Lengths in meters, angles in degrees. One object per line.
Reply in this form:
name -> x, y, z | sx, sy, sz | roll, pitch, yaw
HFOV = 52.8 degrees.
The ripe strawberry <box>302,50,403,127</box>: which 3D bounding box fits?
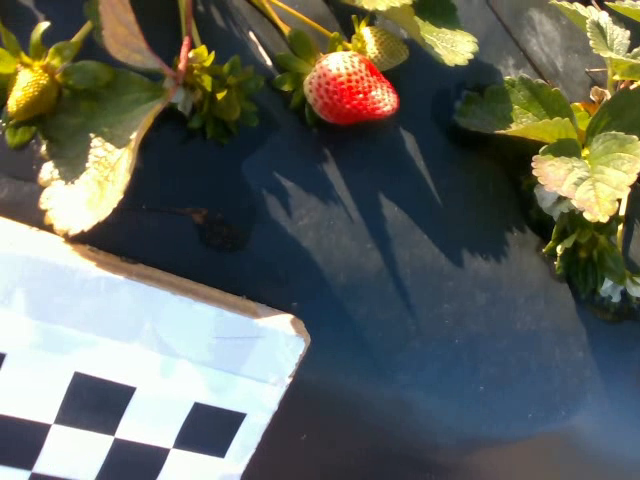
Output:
ripe strawberry -> 0.014, -0.058, 0.250 | 0.045, 0.037, 0.042 | 24, 23, 39
